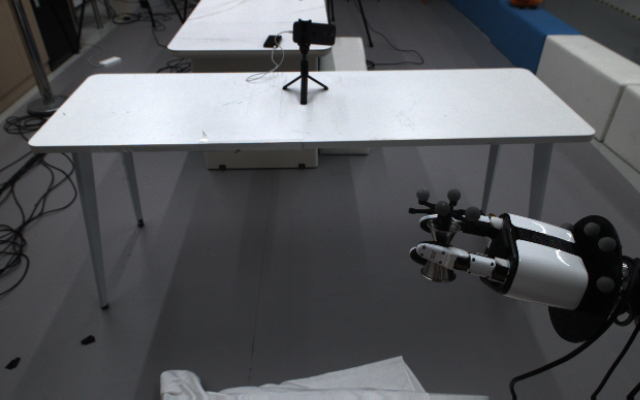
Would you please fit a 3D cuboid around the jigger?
[{"bbox_3d":[0.150,0.060,0.607,0.043,0.071,0.043,1,20,0],"label":"jigger"}]
